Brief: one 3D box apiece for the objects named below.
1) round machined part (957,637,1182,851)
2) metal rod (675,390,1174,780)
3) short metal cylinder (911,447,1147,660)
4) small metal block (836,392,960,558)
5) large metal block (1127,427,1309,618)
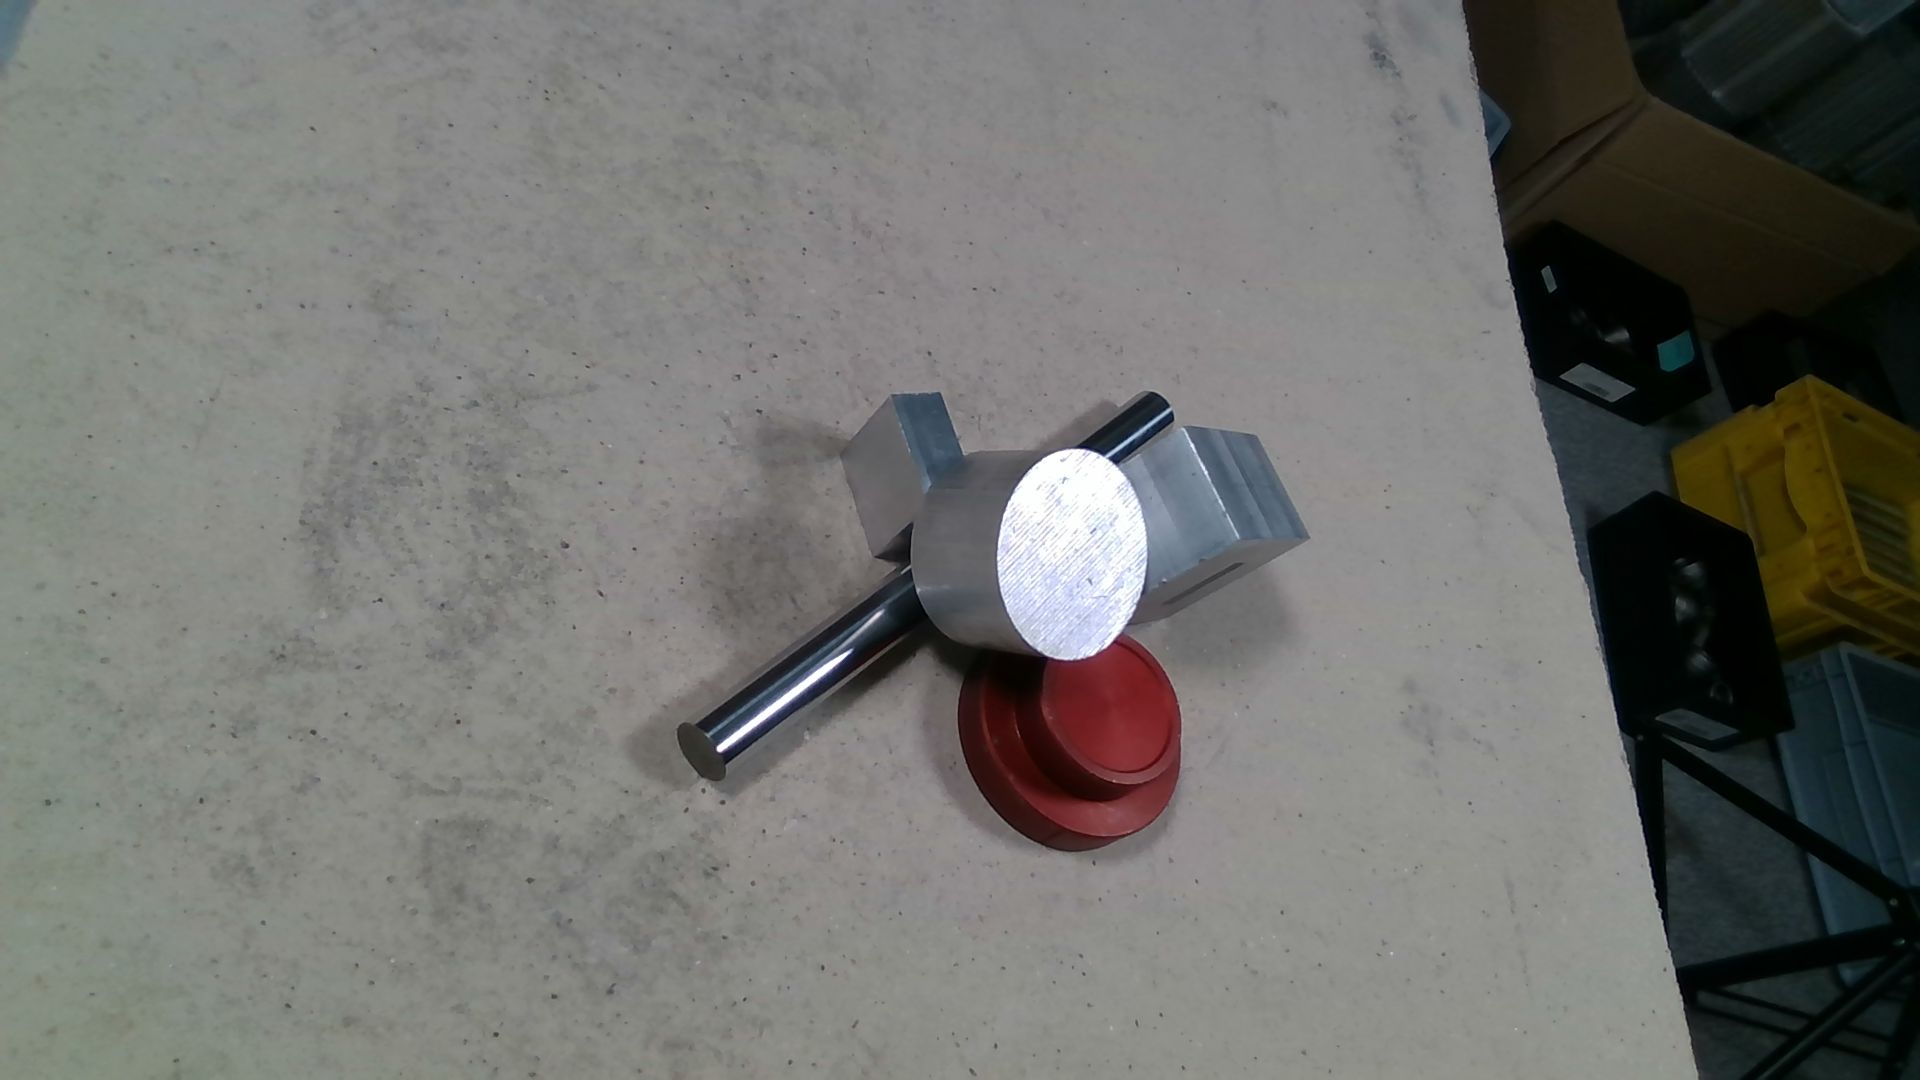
[{"bbox_3d":[0.052,0.075,0.566,0.098,0.042,0.098,14,59,-25],"label":"round machined part"},{"bbox_3d":[0.001,0.006,0.584,0.299,0.025,0.025,-36,87,-39],"label":"metal rod"},{"bbox_3d":[0.028,0.005,0.537,0.080,0.050,0.080,-2,93,-41],"label":"short metal cylinder"},{"bbox_3d":[-0.023,-0.027,0.571,0.025,0.050,0.050,-8,70,-35],"label":"small metal block"},{"bbox_3d":[0.092,-0.005,0.596,0.080,0.080,0.050,-1,62,-56],"label":"large metal block"}]
